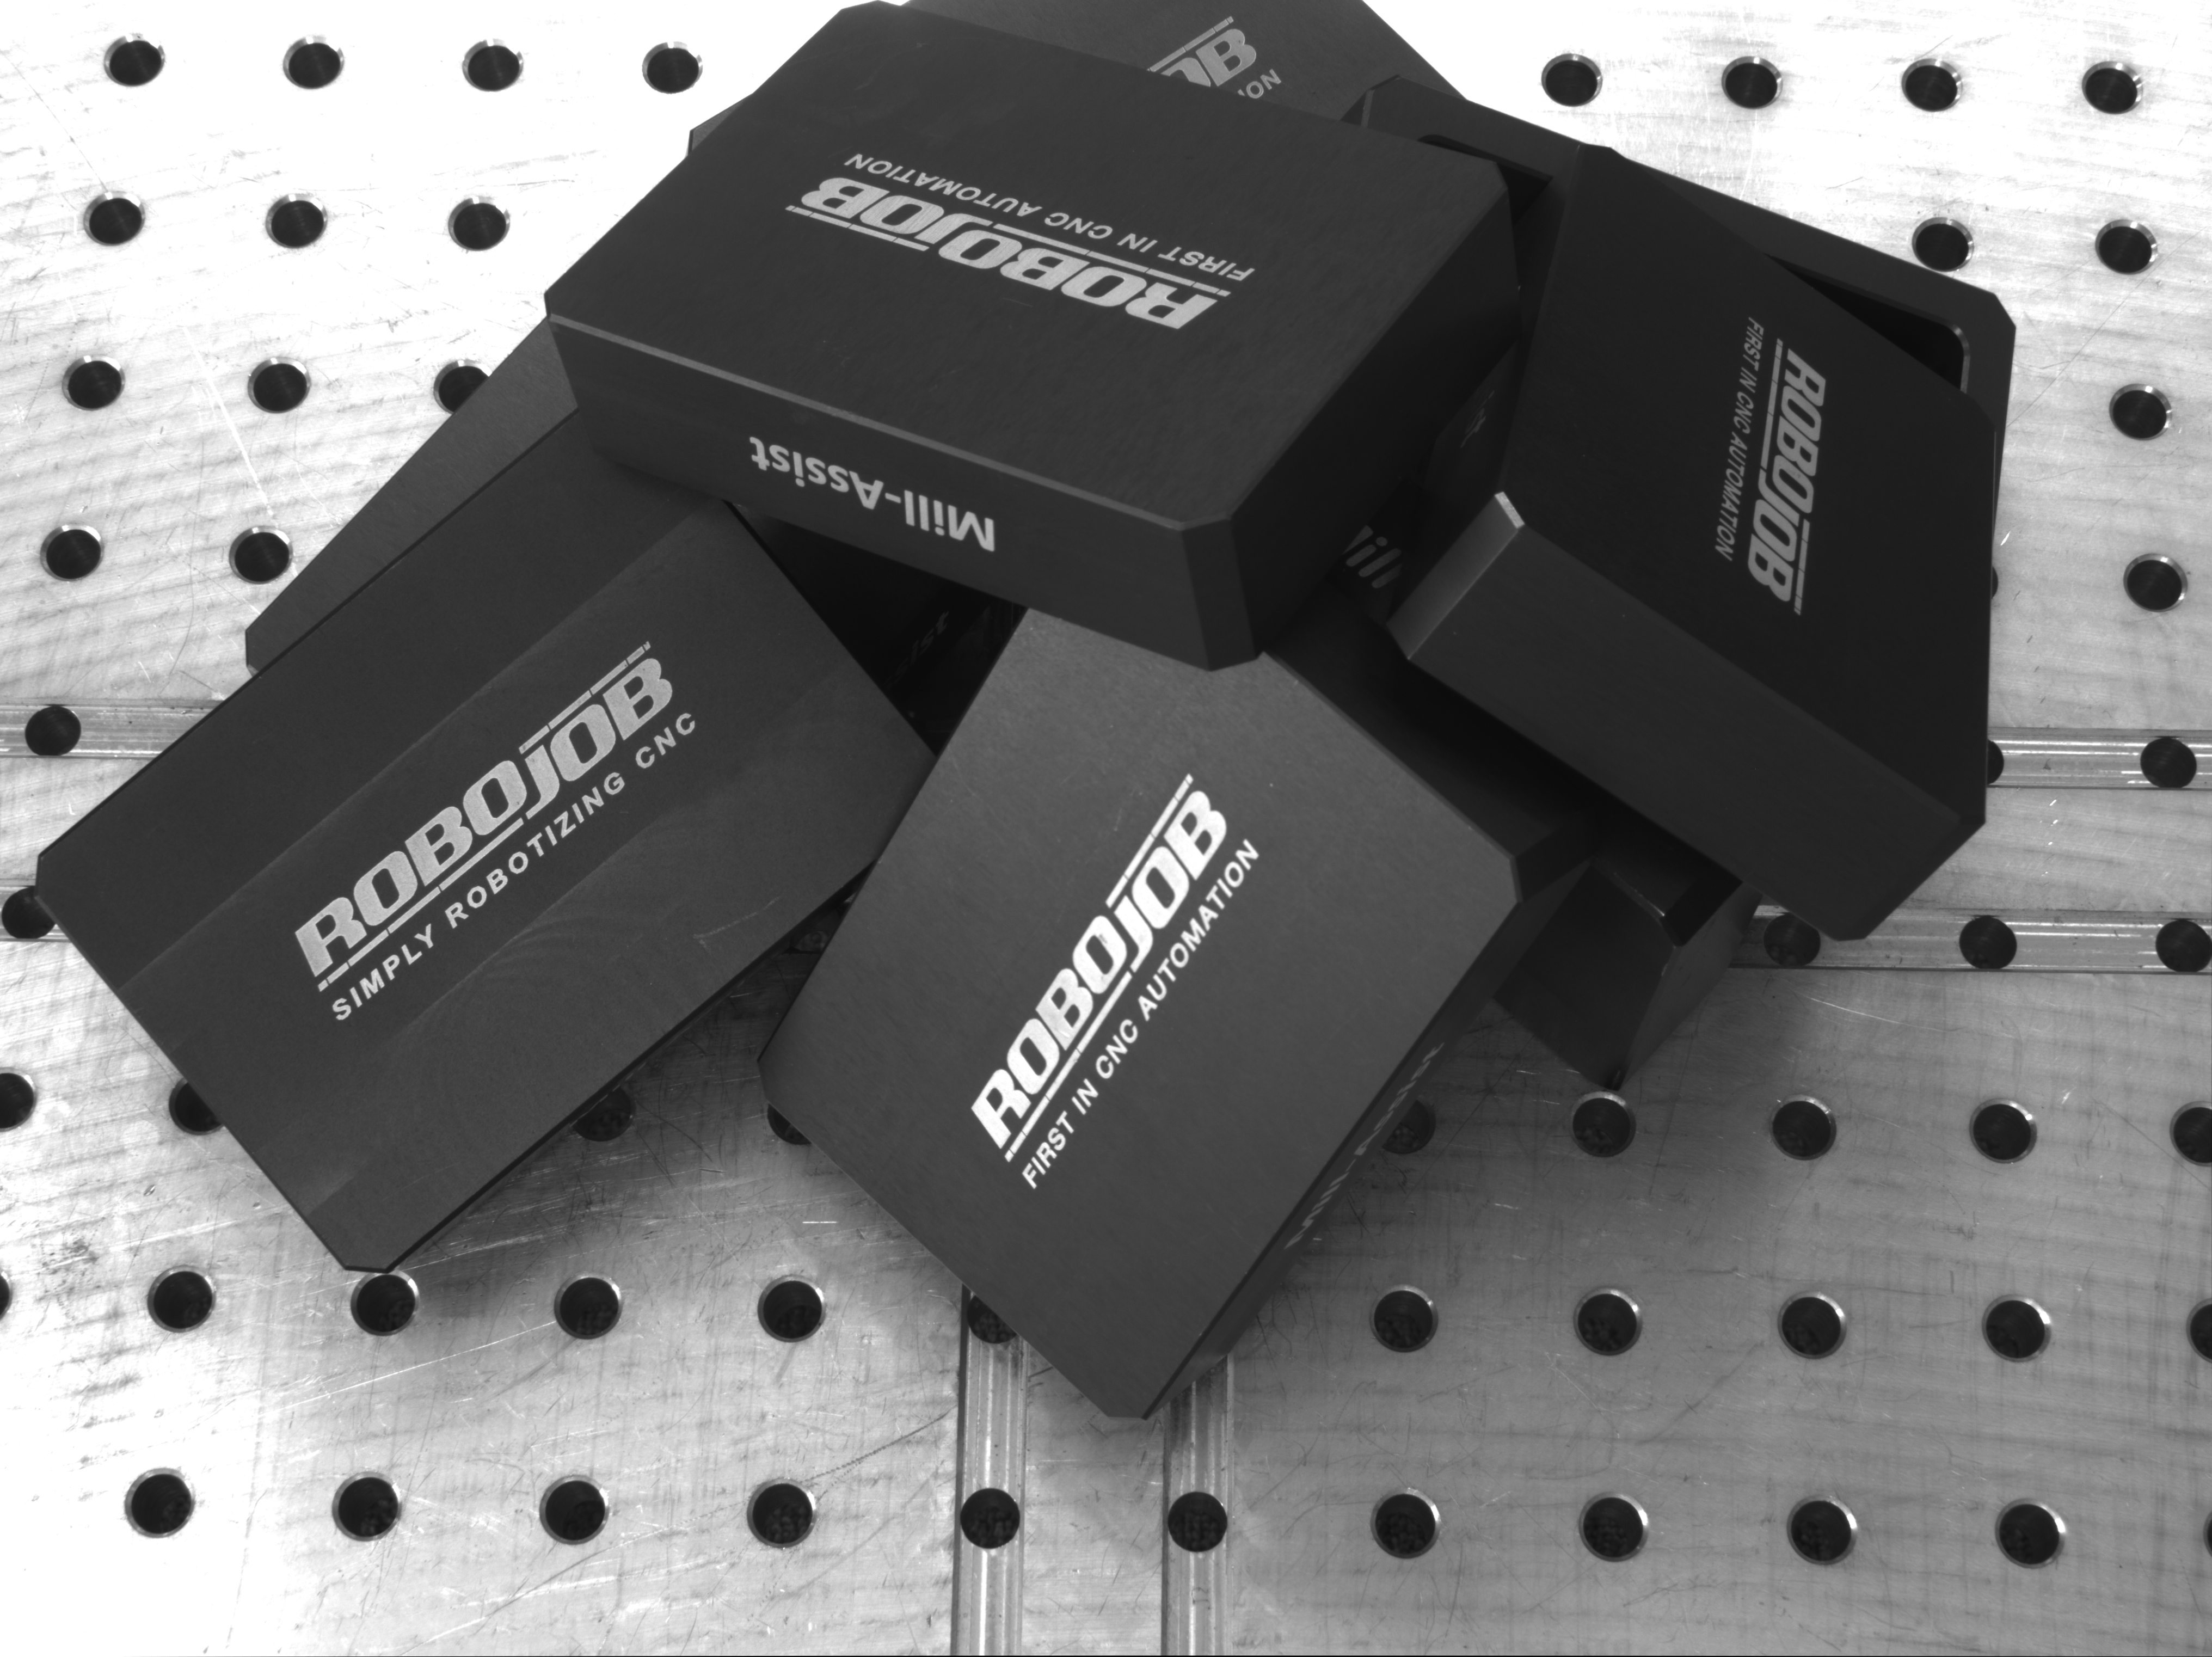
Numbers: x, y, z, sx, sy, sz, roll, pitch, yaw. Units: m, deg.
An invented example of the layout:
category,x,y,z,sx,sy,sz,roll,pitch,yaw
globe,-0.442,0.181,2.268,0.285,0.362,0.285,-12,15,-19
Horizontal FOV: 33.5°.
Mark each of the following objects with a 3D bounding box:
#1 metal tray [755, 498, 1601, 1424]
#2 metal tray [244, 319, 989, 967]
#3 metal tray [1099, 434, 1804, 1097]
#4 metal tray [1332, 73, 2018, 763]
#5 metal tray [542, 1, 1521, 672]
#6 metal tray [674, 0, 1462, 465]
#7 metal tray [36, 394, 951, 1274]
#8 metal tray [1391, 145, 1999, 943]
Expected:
category,x,y,z,sx,sy,sz,roll,pitch,yaw
metal tray,0.008,0.022,0.591,0.090,0.130,0.030,42,33,13
metal tray,-0.078,-0.048,0.662,0.090,0.030,0.130,37,74,12
metal tray,0.053,-0.019,0.621,0.130,0.090,0.030,43,76,15
metal tray,0.093,-0.068,0.647,0.130,0.030,0.090,17,69,-15
metal tray,-0.012,-0.082,0.581,0.130,0.030,0.090,21,56,29
metal tray,-0.003,-0.116,0.668,0.130,0.030,0.090,-37,75,-27
metal tray,-0.101,0.001,0.621,0.130,0.030,0.090,-40,90,-1
metal tray,0.100,-0.050,0.596,0.090,0.030,0.130,33,36,-10
